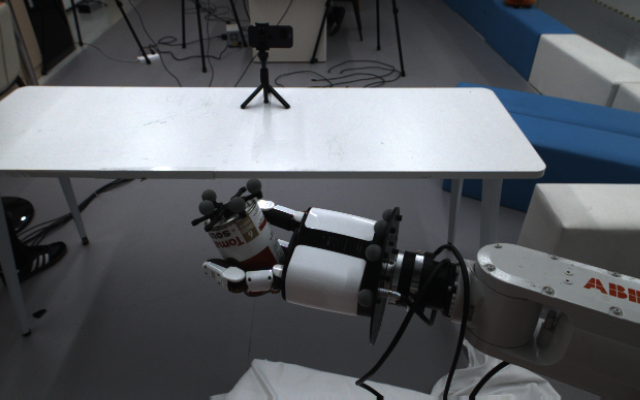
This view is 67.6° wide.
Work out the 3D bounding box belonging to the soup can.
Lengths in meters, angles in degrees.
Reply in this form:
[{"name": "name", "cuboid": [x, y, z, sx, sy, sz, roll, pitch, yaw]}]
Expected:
[{"name": "soup can", "cuboid": [-0.082, 0.055, 0.579, 0.067, 0.101, 0.067, -22, 24, 10]}]
